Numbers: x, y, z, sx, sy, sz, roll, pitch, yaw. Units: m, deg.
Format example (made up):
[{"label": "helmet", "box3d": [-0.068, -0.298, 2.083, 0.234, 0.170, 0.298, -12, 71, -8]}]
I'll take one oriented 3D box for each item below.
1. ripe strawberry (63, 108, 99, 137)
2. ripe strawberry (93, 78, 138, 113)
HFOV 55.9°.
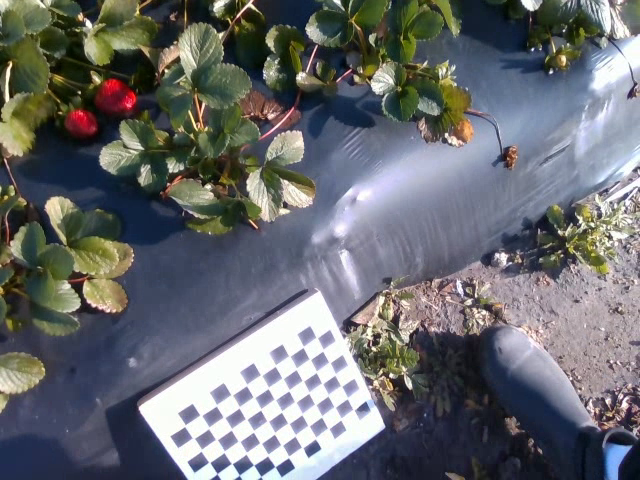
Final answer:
[{"label": "ripe strawberry", "box3d": [-0.294, -0.144, 0.740, 0.051, 0.043, 0.036, 24, 11, 21]}, {"label": "ripe strawberry", "box3d": [-0.255, -0.181, 0.754, 0.057, 0.052, 0.046, 31, 6, 23]}]
